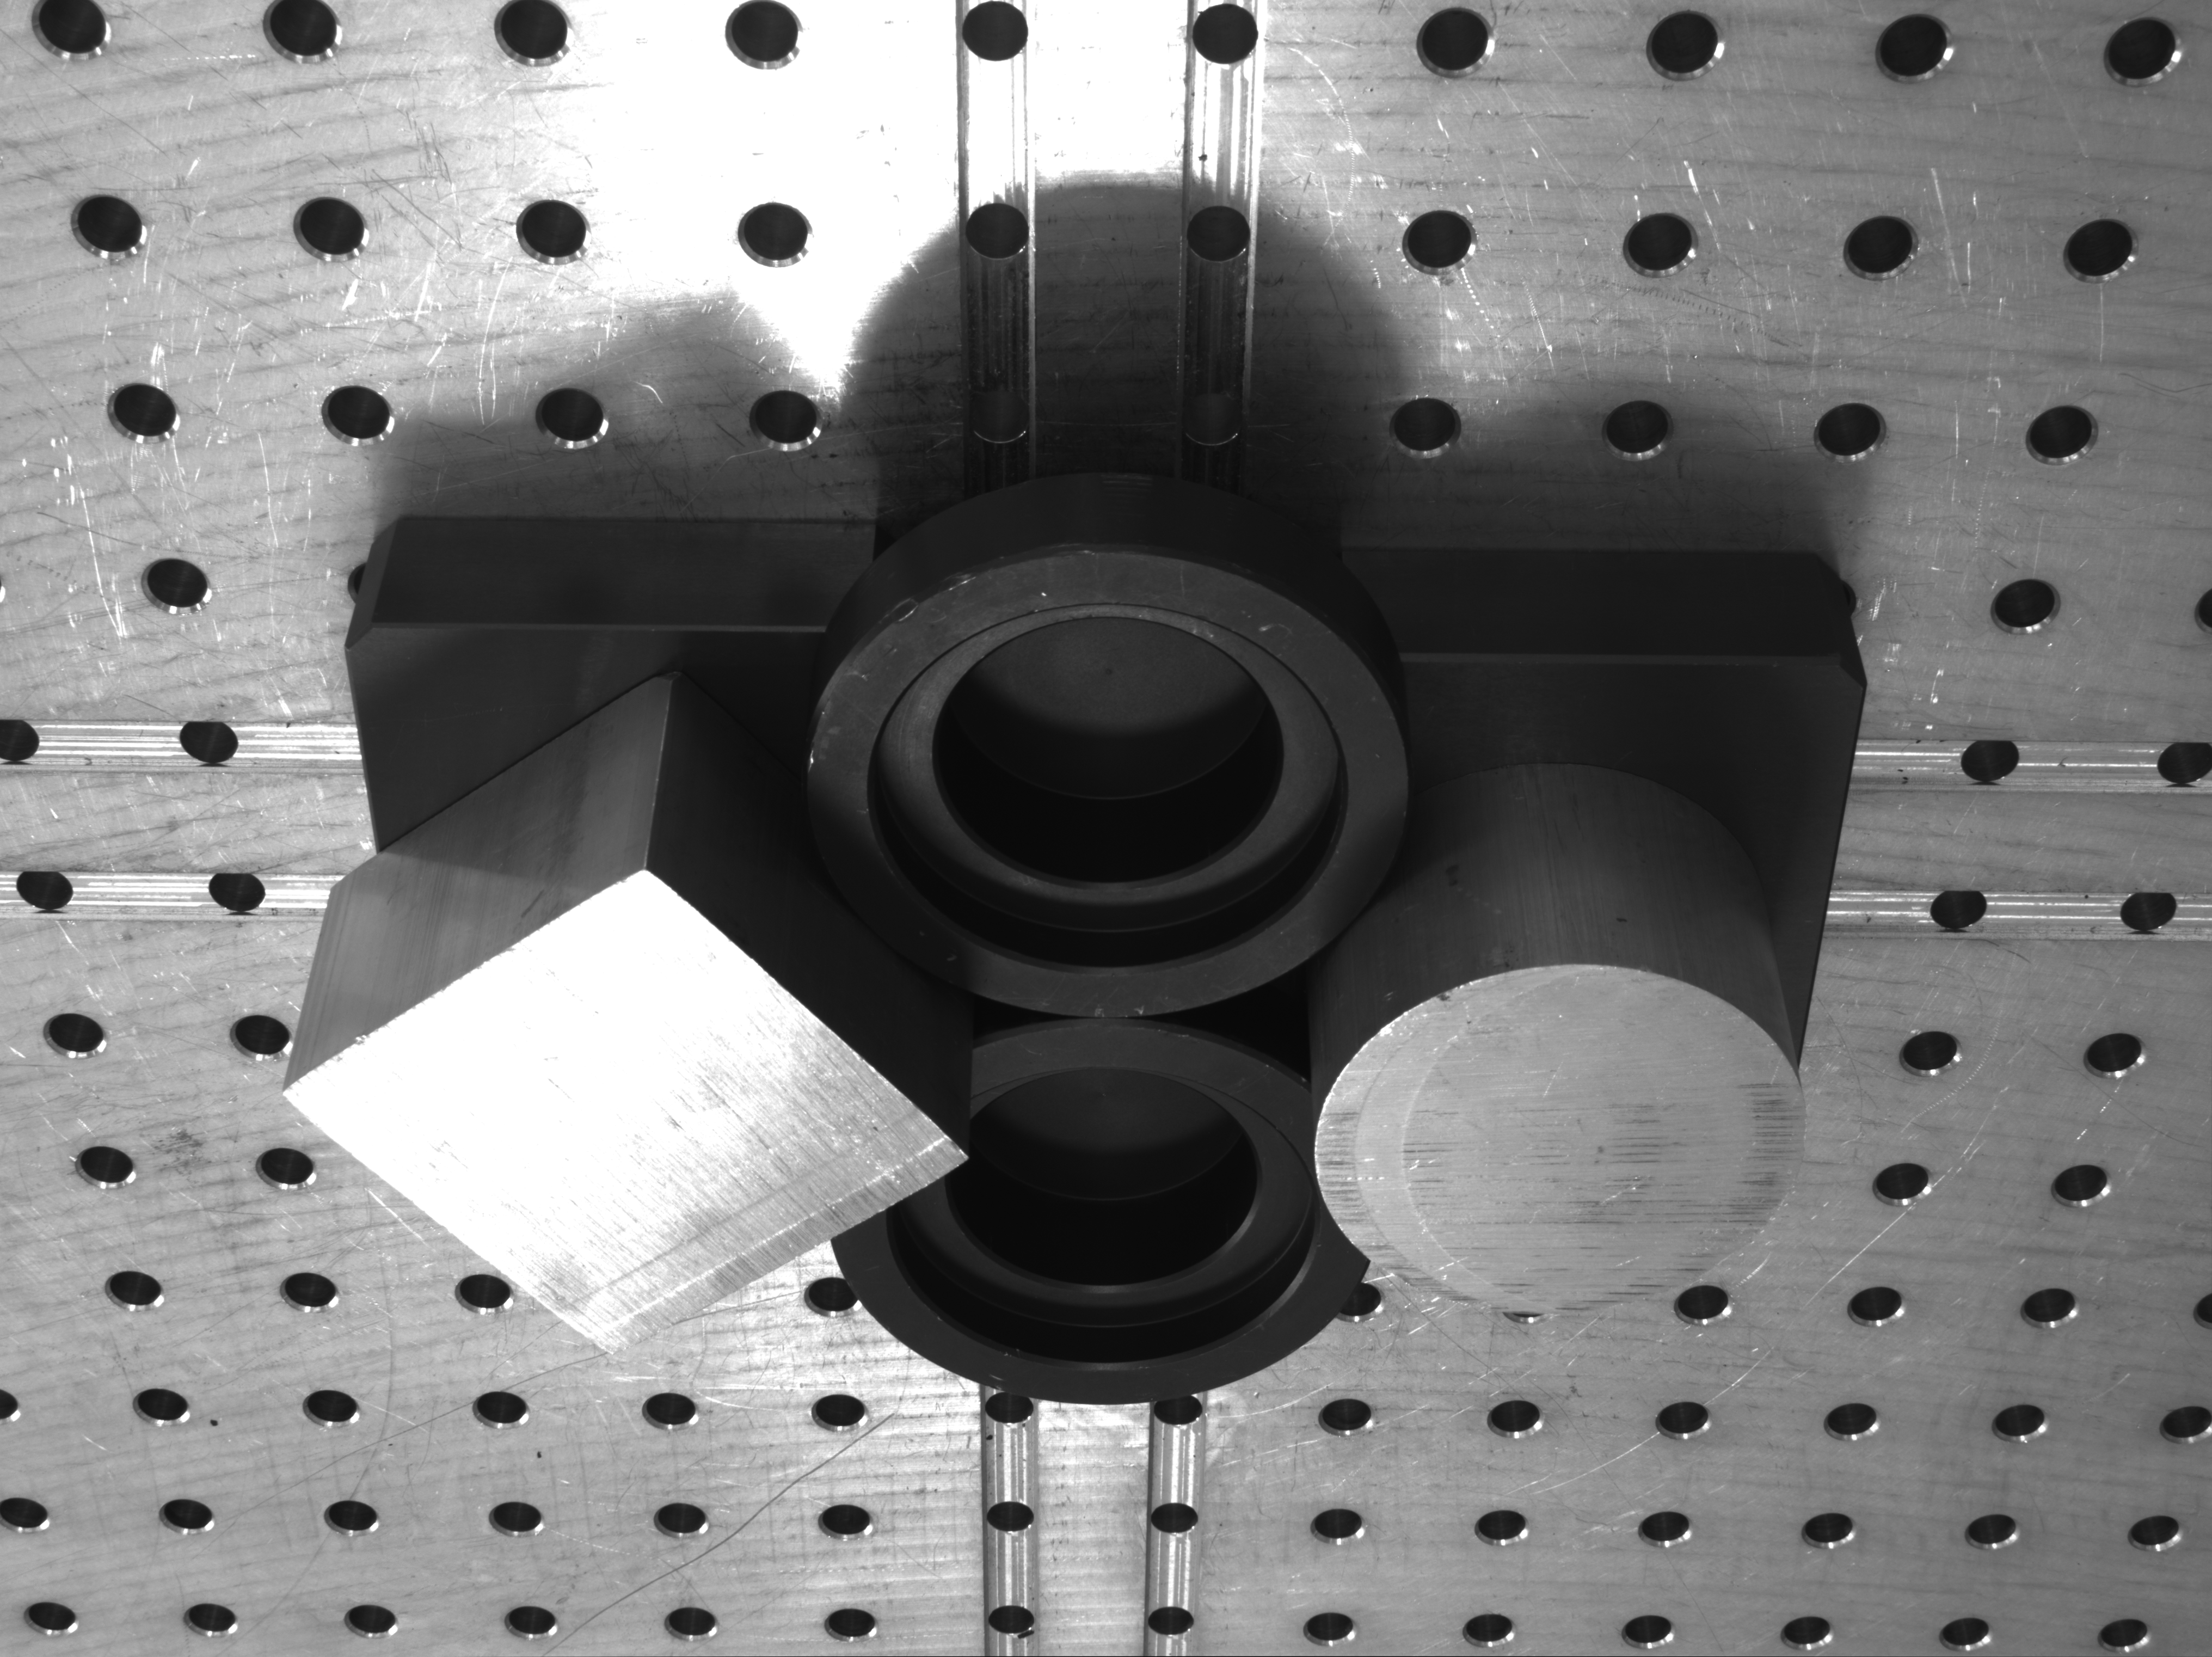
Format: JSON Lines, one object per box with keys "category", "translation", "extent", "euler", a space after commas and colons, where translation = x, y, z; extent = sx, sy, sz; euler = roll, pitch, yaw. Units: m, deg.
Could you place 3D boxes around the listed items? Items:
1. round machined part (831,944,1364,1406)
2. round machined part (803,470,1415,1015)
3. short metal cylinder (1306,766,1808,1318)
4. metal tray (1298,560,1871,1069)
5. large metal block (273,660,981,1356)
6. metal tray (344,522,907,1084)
{"category": "round machined part", "translation": [0.000, 0.057, 0.667], "extent": [0.098, 0.042, 0.098], "euler": [0, 130, 0]}
{"category": "round machined part", "translation": [0.001, -0.019, 0.604], "extent": [0.098, 0.042, 0.098], "euler": [0, 130, 0]}
{"category": "short metal cylinder", "translation": [0.074, 0.036, 0.617], "extent": [0.080, 0.050, 0.080], "euler": [0, 130, 0]}
{"category": "metal tray", "translation": [0.079, 0.014, 0.649], "extent": [0.090, 0.030, 0.130], "euler": [0, 130, 0]}
{"category": "large metal block", "translation": [-0.077, 0.032, 0.613], "extent": [0.080, 0.050, 0.080], "euler": [-30, 124, 23]}
{"category": "metal tray", "translation": [-0.079, 0.008, 0.645], "extent": [0.090, 0.030, 0.130], "euler": [0, 130, -1]}
